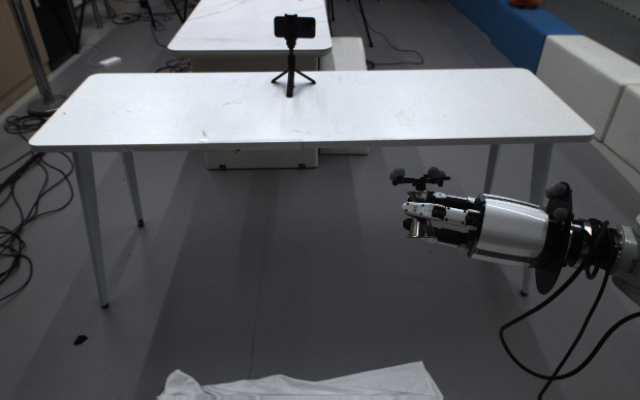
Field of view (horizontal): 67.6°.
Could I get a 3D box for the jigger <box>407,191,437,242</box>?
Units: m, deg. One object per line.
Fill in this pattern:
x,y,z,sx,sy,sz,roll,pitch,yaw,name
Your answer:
0.148,0.021,0.715,0.043,0.071,0.043,1,-5,0,jigger
